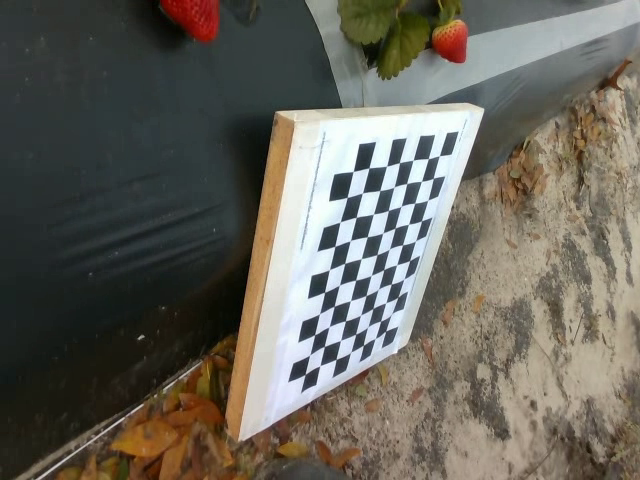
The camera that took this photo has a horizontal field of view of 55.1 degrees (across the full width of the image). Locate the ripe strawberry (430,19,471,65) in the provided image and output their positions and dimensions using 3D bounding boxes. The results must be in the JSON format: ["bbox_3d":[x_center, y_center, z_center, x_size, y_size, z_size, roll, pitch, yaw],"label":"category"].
[{"bbox_3d":[0.116,-0.186,0.564,0.039,0.047,0.041,-37,44,-14],"label":"ripe strawberry"}]
